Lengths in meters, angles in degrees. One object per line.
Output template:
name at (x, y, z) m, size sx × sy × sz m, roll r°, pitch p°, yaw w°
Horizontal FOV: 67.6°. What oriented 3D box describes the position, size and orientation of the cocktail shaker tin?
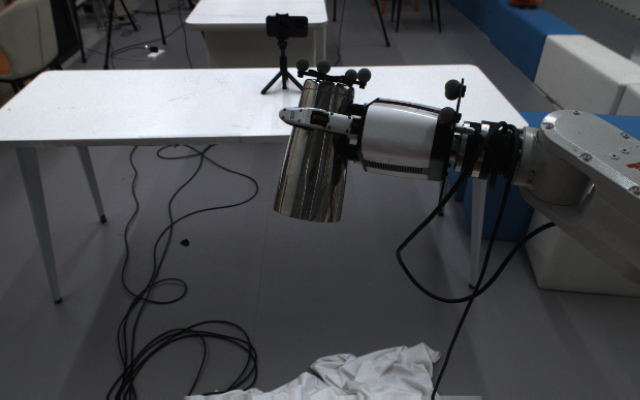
cocktail shaker tin at (0.001, -0.067, 0.630) m, size 0.093 × 0.170 × 0.093 m, roll 10°, pitch 9°, yaw -2°
